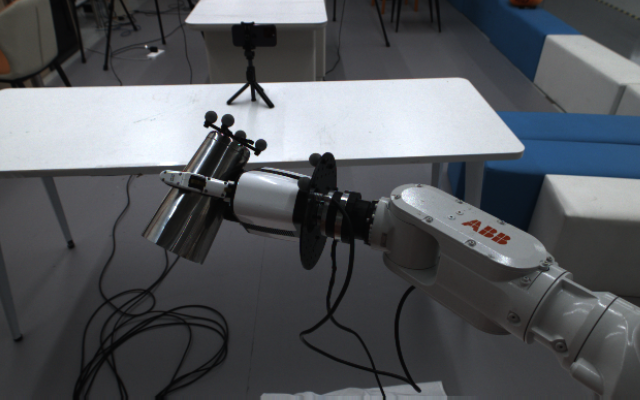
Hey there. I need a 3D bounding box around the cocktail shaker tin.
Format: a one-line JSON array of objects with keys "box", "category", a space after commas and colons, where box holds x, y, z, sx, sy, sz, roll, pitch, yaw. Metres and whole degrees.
[{"box": [-0.164, -0.010, 0.676, 0.093, 0.093, 0.170, 21, 81, 26], "category": "cocktail shaker tin"}]
